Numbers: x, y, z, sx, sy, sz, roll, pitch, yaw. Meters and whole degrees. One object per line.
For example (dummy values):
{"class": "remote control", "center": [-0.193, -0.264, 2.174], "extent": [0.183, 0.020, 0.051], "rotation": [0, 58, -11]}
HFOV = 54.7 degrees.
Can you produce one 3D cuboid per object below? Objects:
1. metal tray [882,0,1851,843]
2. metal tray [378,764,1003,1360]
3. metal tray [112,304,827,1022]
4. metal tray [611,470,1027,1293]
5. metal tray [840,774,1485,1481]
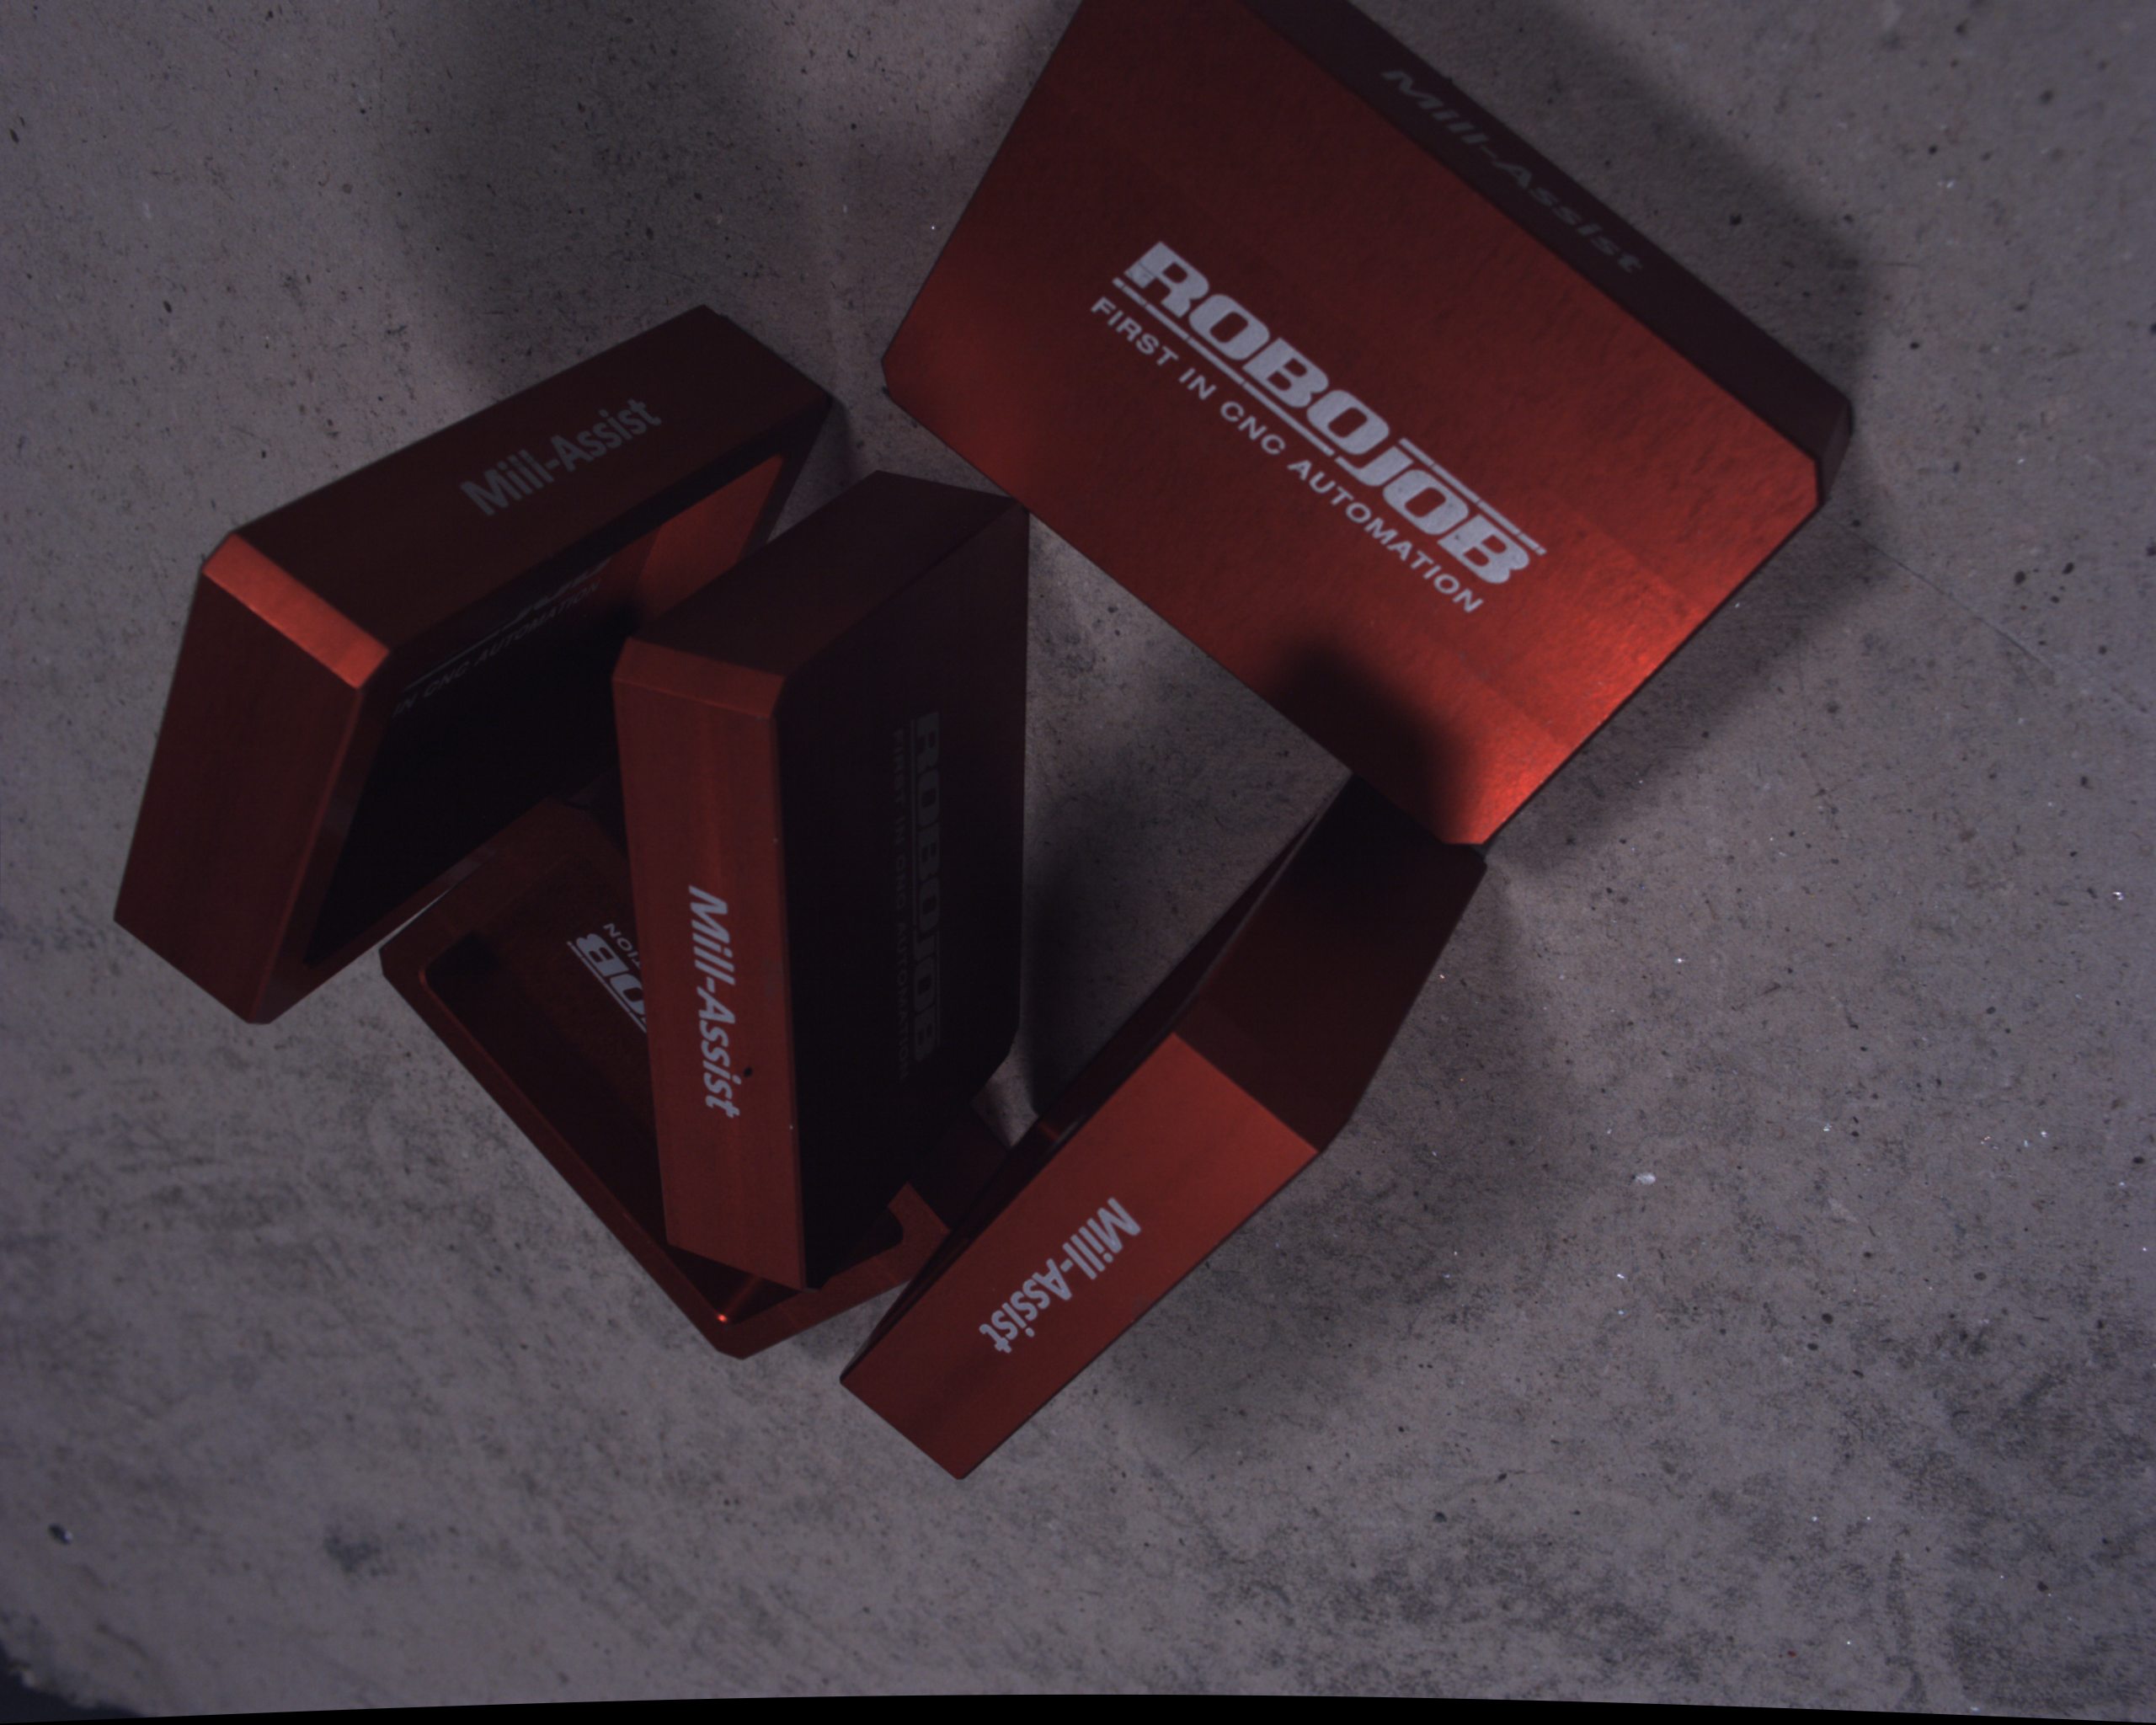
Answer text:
{"class": "metal tray", "center": [0.043, -0.075, 0.335], "extent": [0.130, 0.030, 0.089], "rotation": [39, 129, 1]}
{"class": "metal tray", "center": [-0.089, 0.046, 0.478], "extent": [0.090, 0.030, 0.130], "rotation": [-32, 101, 38]}
{"class": "metal tray", "center": [-0.103, -0.039, 0.369], "extent": [0.030, 0.131, 0.089], "rotation": [37, 129, 3]}
{"class": "metal tray", "center": [-0.044, 0.003, 0.389], "extent": [0.030, 0.090, 0.129], "rotation": [15, 125, 19]}
{"class": "metal tray", "center": [0.014, 0.049, 0.388], "extent": [0.030, 0.090, 0.129], "rotation": [40, 129, 1]}
